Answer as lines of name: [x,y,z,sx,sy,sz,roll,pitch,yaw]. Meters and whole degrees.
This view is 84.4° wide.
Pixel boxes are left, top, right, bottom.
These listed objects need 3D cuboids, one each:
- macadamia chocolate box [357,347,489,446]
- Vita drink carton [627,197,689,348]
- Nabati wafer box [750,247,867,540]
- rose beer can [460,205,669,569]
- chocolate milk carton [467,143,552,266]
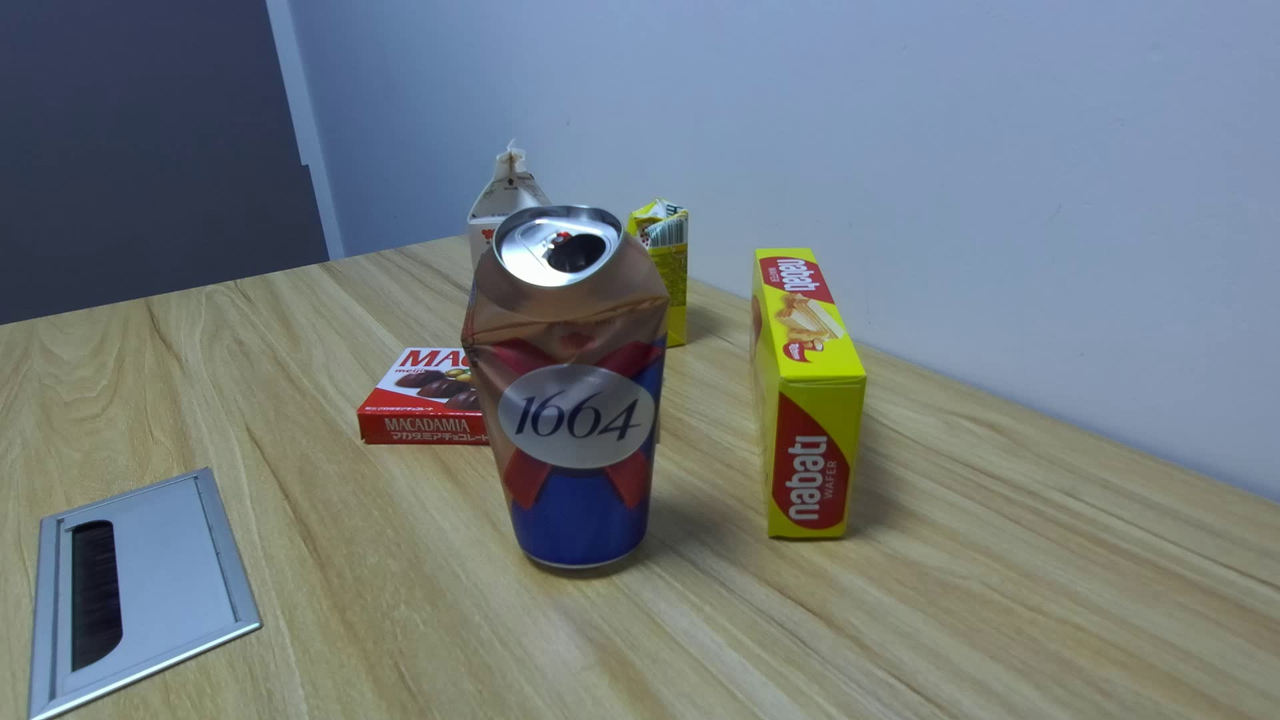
macadamia chocolate box: [-0.083,0.024,0.480,0.187,0.027,0.102,0,29,2]
Vita drink carton: [0.006,-0.070,0.565,0.046,0.110,0.071,-9,25,-20]
Nabati wafer box: [0.091,0.006,0.421,0.042,0.093,0.203,1,25,5]
rose beer can: [-0.030,0.019,0.325,0.069,0.168,0.069,-23,31,-39]
chocolate milk carton: [-0.095,-0.104,0.584,0.073,0.155,0.084,-4,35,-2]
